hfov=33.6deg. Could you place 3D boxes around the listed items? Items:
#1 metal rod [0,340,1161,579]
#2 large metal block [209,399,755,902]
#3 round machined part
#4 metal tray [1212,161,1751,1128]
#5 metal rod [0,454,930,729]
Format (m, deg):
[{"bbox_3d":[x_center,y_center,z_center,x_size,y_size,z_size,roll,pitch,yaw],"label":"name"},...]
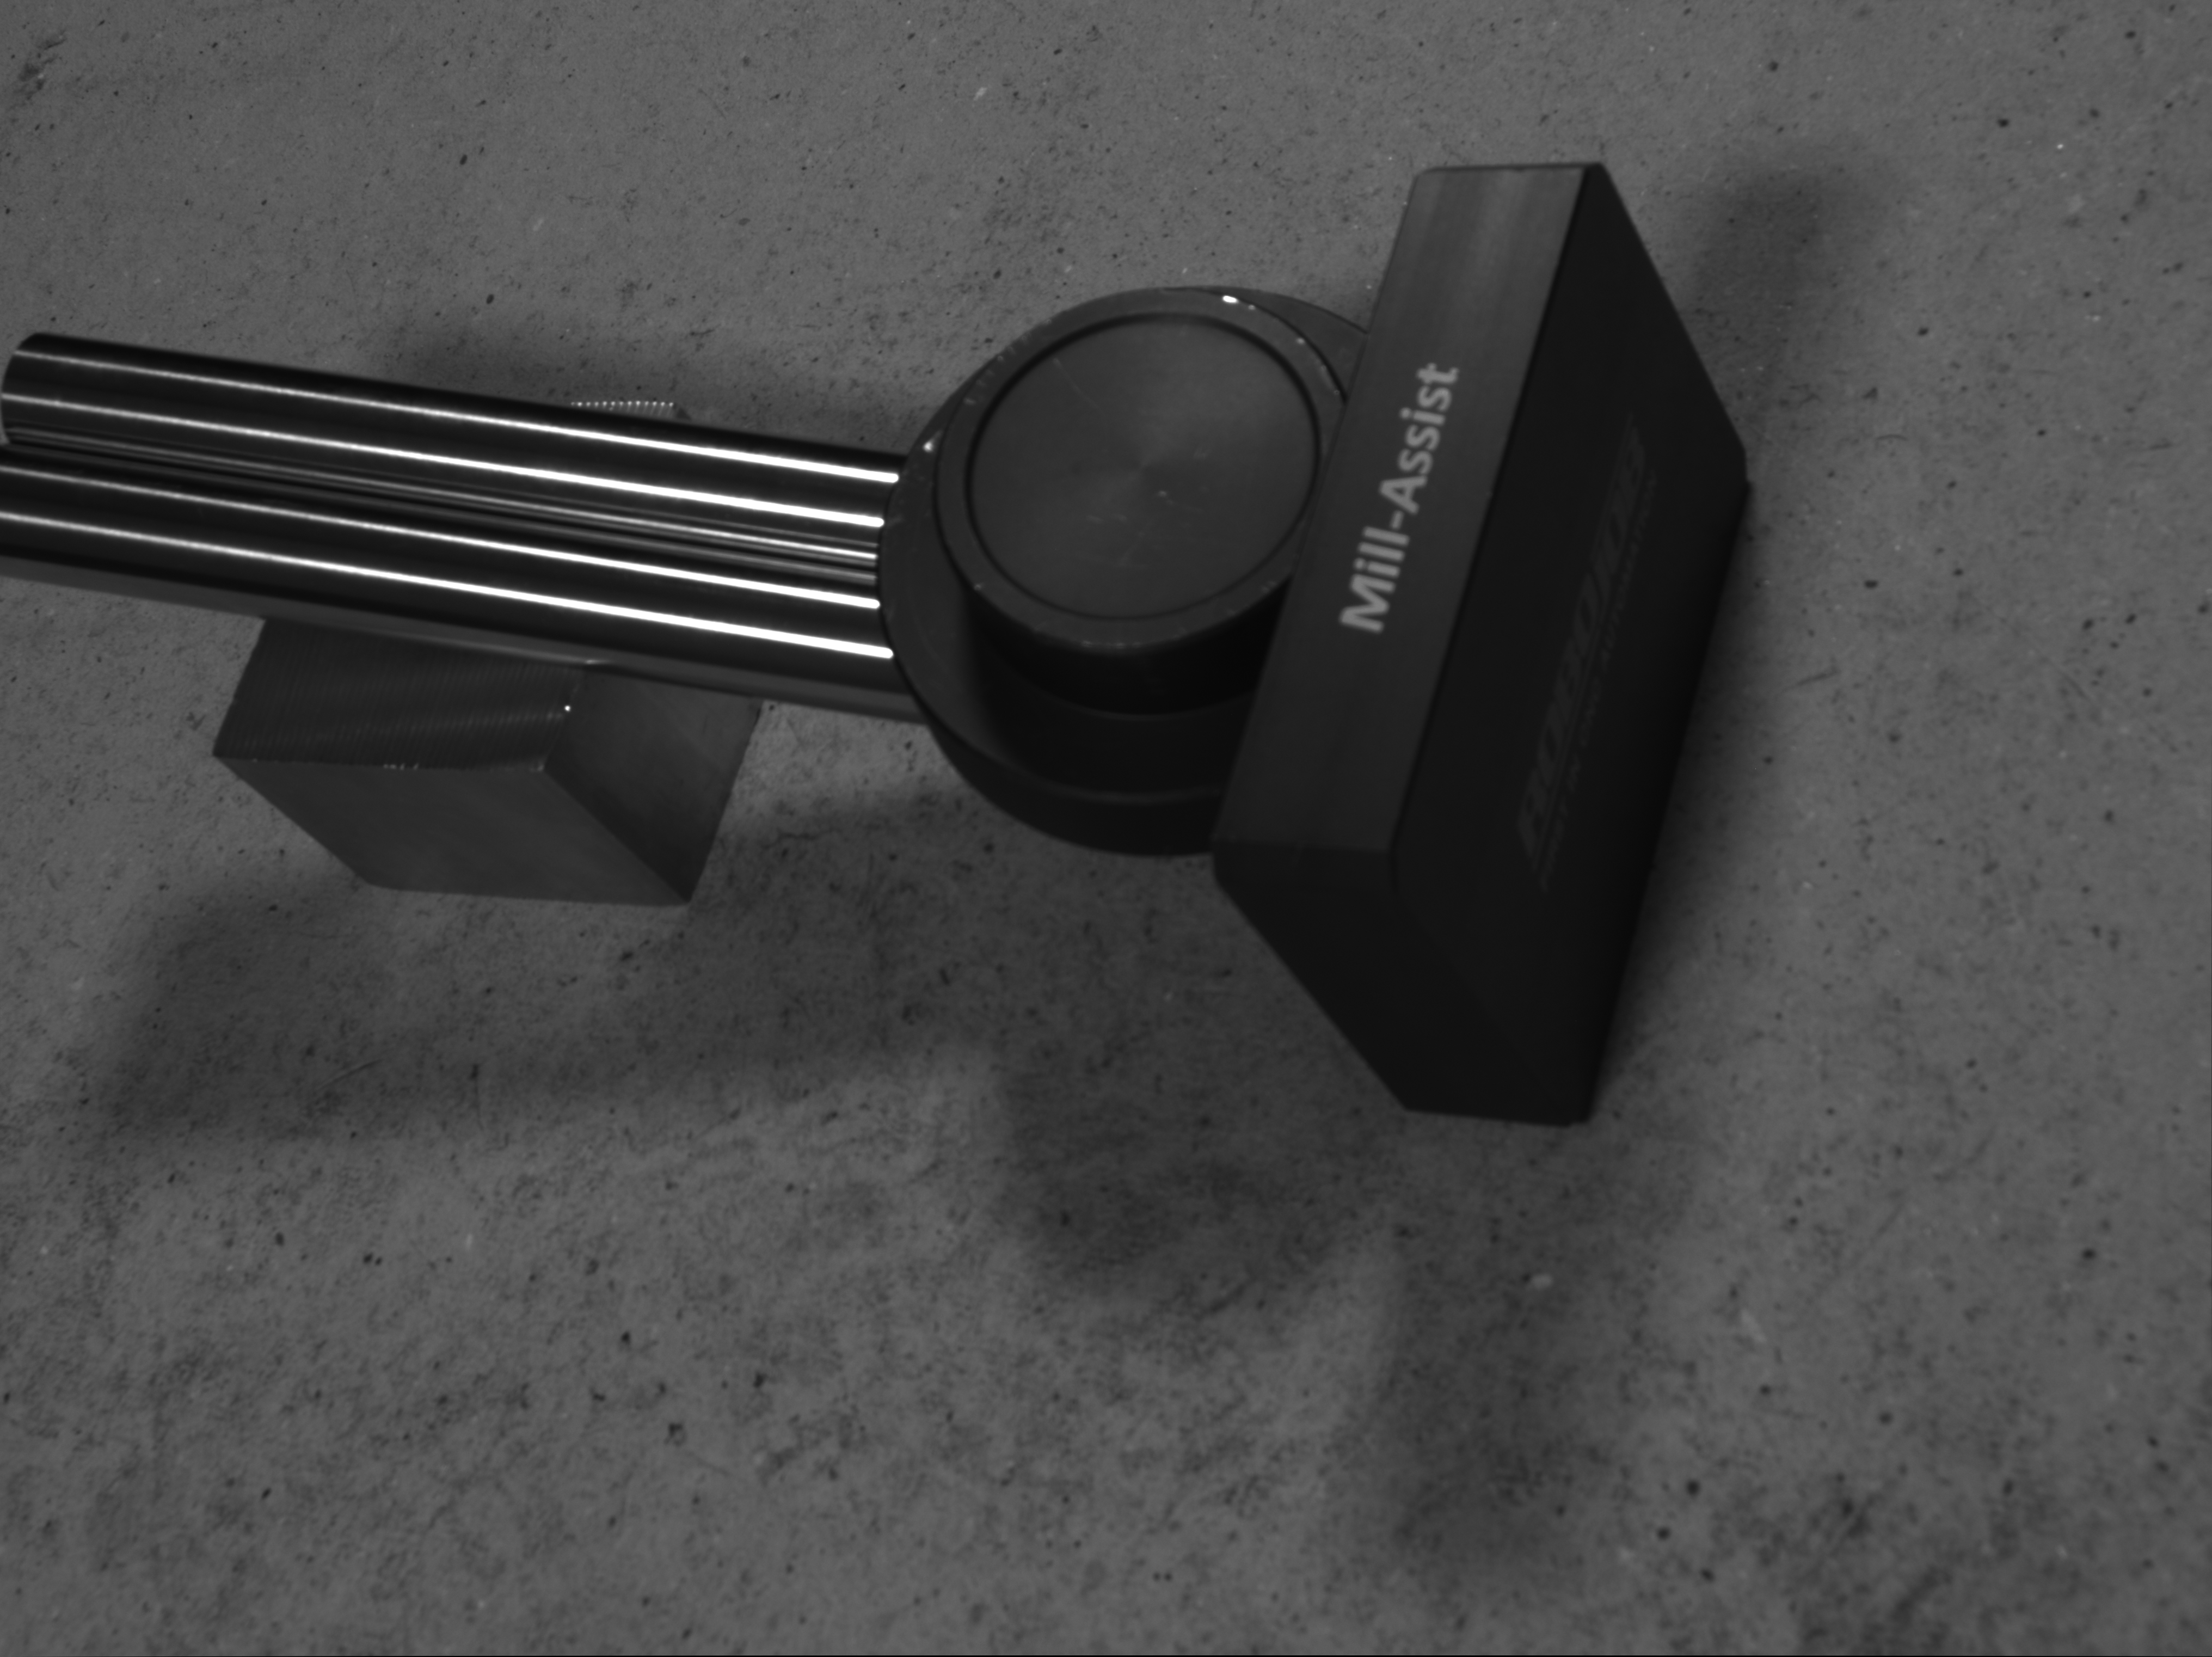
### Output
[{"bbox_3d":[-0.067,-0.061,0.659,0.300,0.025,0.025,9,65,18],"label":"metal rod"},{"bbox_3d":[-0.113,-0.035,0.706,0.080,0.050,0.080,3,63,30],"label":"large metal block"},{"bbox_3d":[0.010,-0.048,0.595,0.098,0.042,0.098,-7,62,13],"label":"round machined part"},{"bbox_3d":[0.064,-0.029,0.585,0.030,0.090,0.130,4,63,30],"label":"metal tray"},{"bbox_3d":[-0.074,-0.037,0.649,0.299,0.025,0.025,9,65,18],"label":"metal rod"}]
